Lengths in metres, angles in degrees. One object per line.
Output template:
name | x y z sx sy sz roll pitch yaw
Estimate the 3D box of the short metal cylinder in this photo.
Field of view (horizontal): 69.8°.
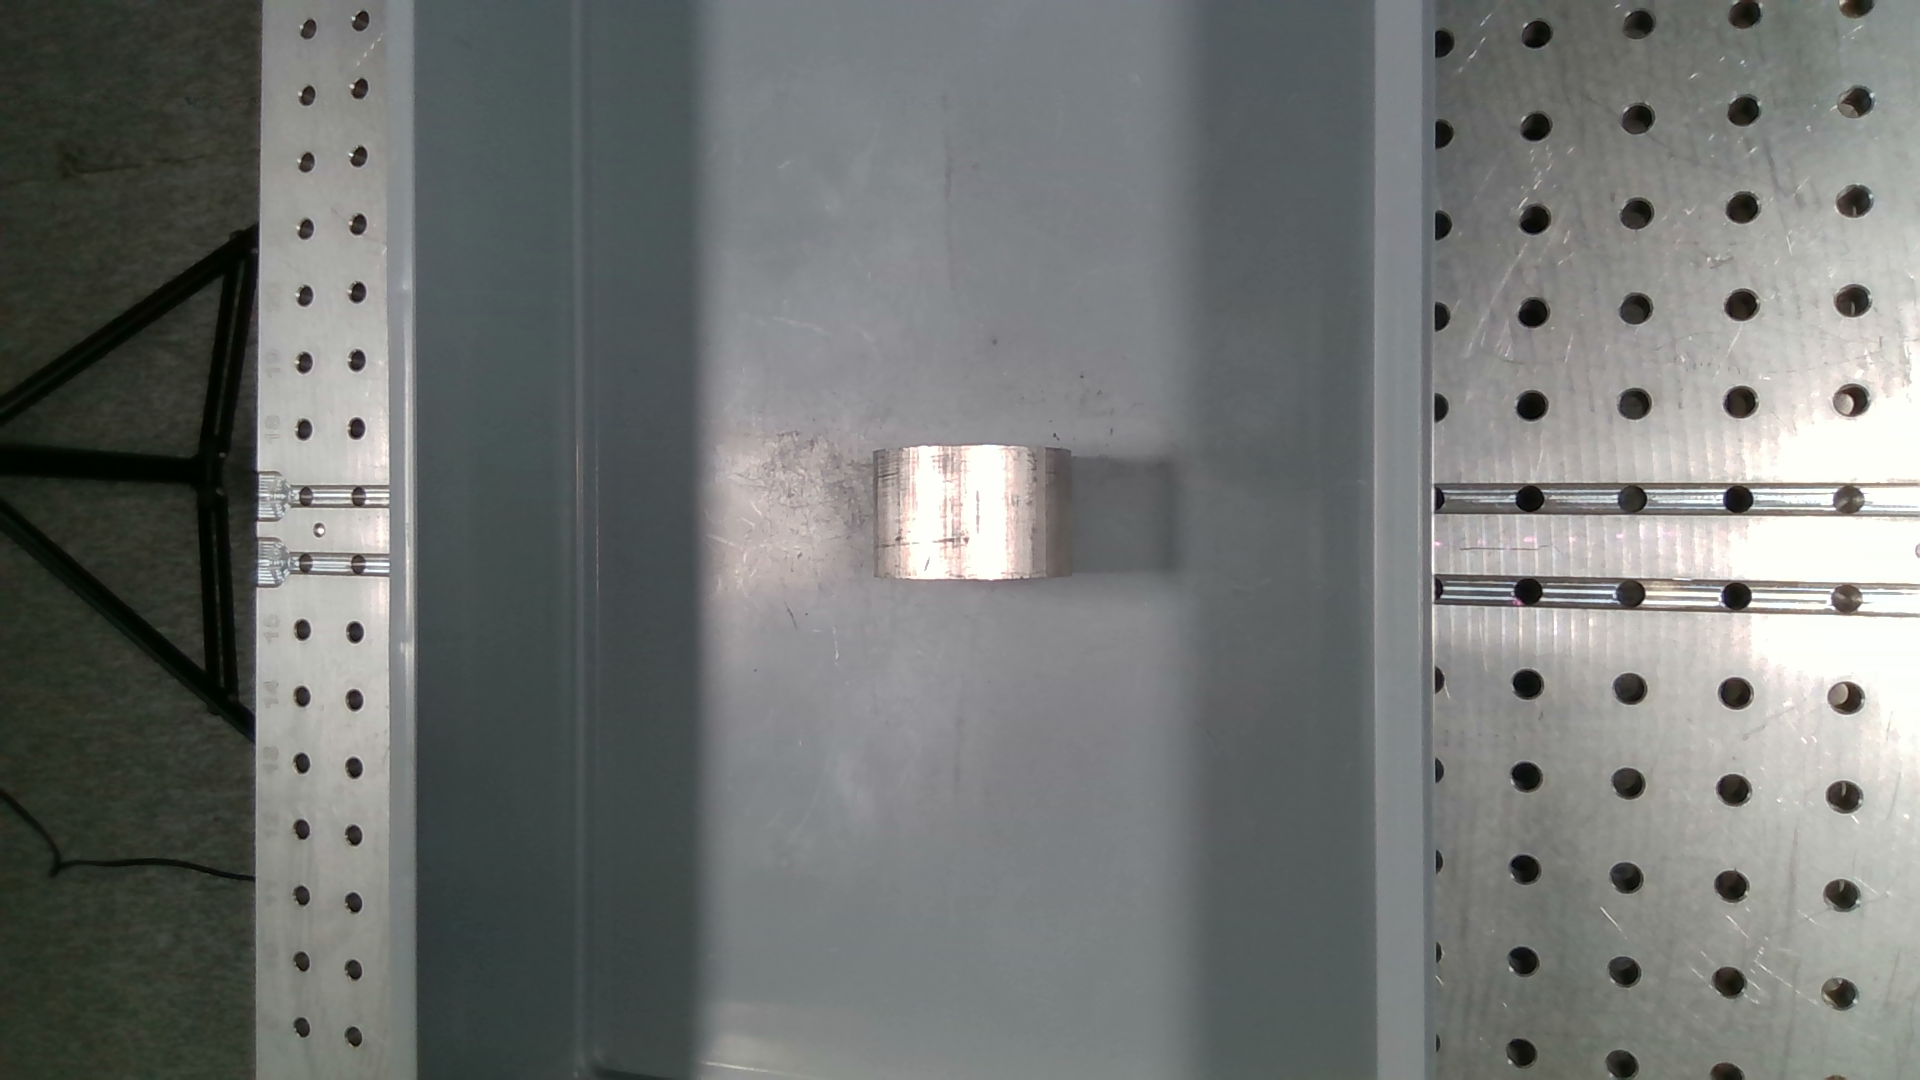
short metal cylinder | 0.004 -0.010 0.553 0.080 0.080 0.050 0 90 20
